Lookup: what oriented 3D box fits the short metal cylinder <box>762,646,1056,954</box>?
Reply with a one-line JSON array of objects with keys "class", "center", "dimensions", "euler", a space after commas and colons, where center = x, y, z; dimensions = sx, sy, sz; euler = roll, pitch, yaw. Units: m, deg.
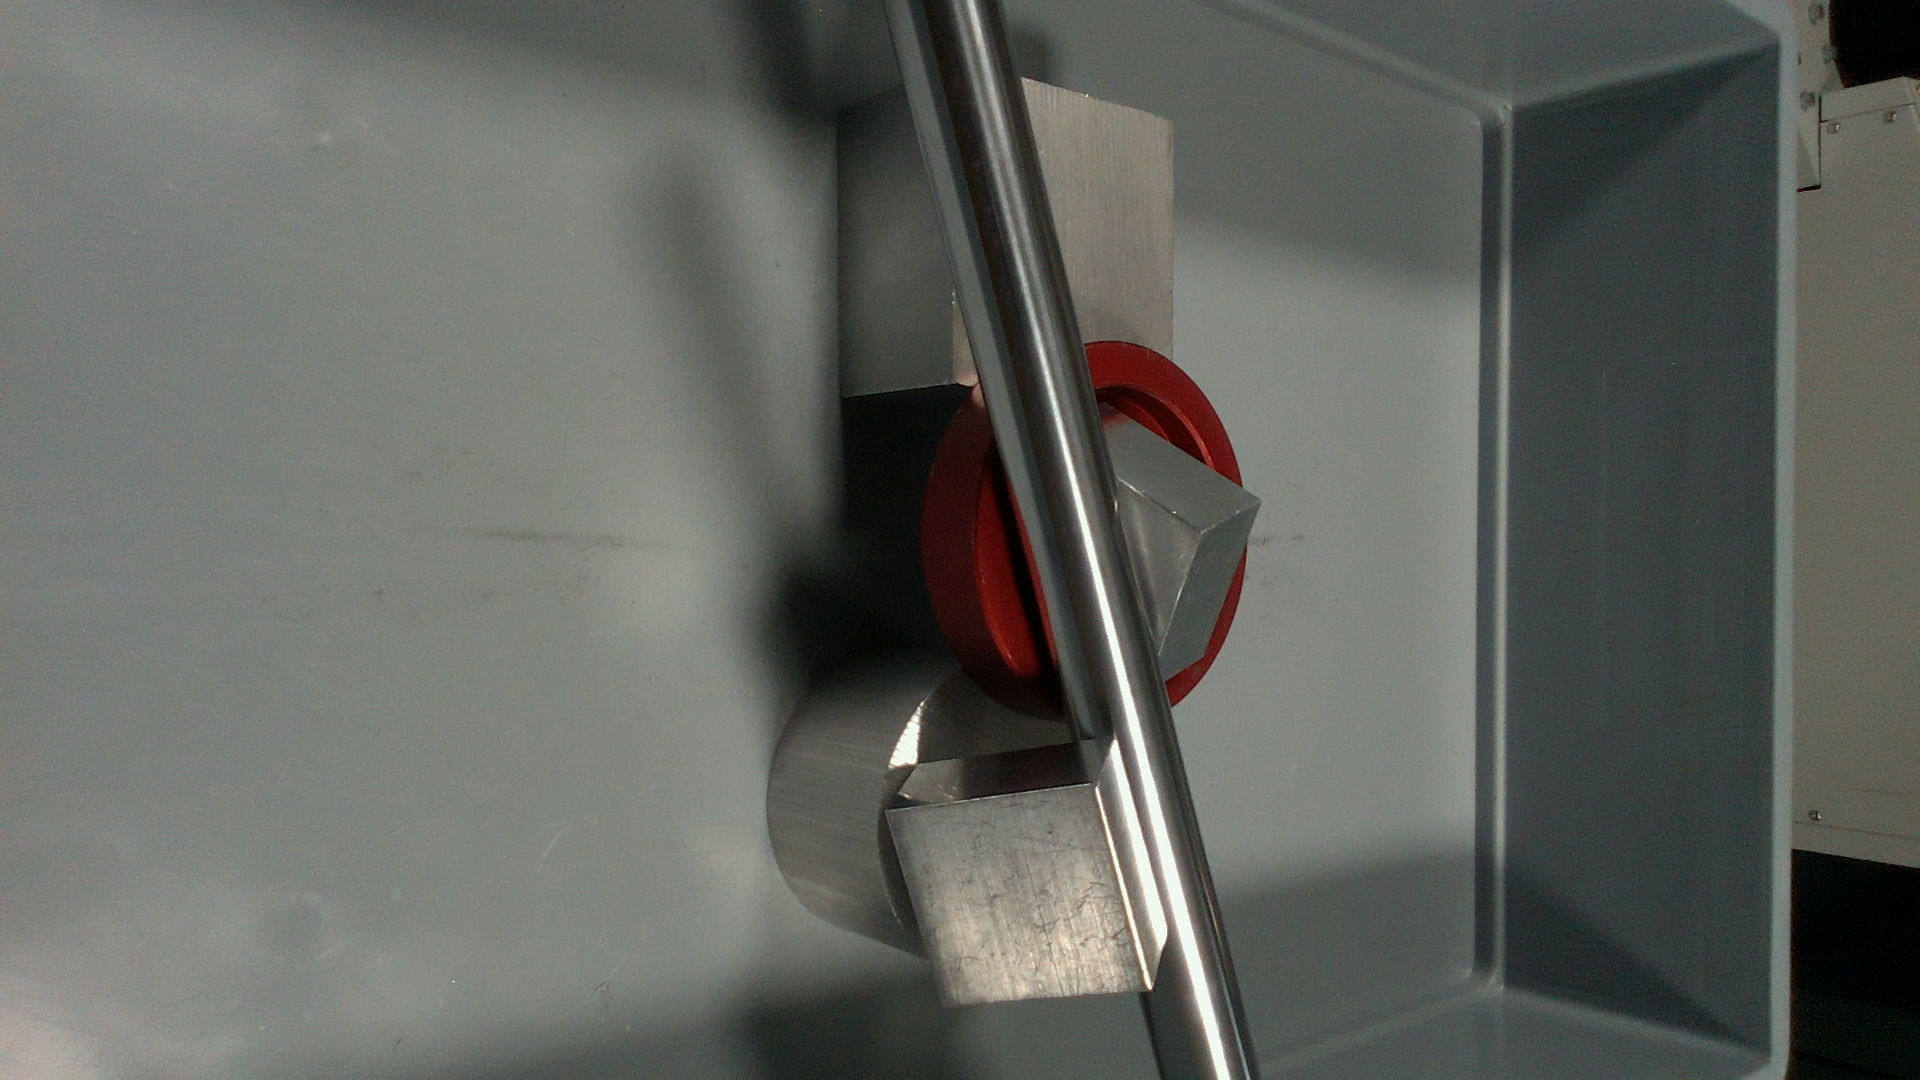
[{"class": "short metal cylinder", "center": [-0.005, 0.069, 0.368], "dimensions": [0.080, 0.050, 0.080], "euler": [0, 90, -40]}]

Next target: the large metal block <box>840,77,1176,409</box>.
[{"class": "large metal block", "center": [0.014, -0.078, 0.381], "dimensions": [0.080, 0.050, 0.080], "euler": [0, 90, -40]}]

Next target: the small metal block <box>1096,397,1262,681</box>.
[{"class": "small metal block", "center": [0.040, 0.001, 0.343], "dimensions": [0.025, 0.050, 0.050], "euler": [-25, 140, -41]}]

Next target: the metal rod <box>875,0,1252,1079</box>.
[{"class": "metal rod", "center": [0.024, -0.005, 0.317], "dimensions": [0.025, 0.025, 0.300], "euler": [-24, 105, -37]}]

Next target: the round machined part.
[{"class": "round machined part", "center": [0.028, -0.002, 0.362], "dimensions": [0.098, 0.042, 0.098], "euler": [0, 90, -40]}]

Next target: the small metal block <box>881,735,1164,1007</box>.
[{"class": "small metal block", "center": [0.015, 0.076, 0.317], "dimensions": [0.025, 0.050, 0.050], "euler": [-46, 122, -68]}]
